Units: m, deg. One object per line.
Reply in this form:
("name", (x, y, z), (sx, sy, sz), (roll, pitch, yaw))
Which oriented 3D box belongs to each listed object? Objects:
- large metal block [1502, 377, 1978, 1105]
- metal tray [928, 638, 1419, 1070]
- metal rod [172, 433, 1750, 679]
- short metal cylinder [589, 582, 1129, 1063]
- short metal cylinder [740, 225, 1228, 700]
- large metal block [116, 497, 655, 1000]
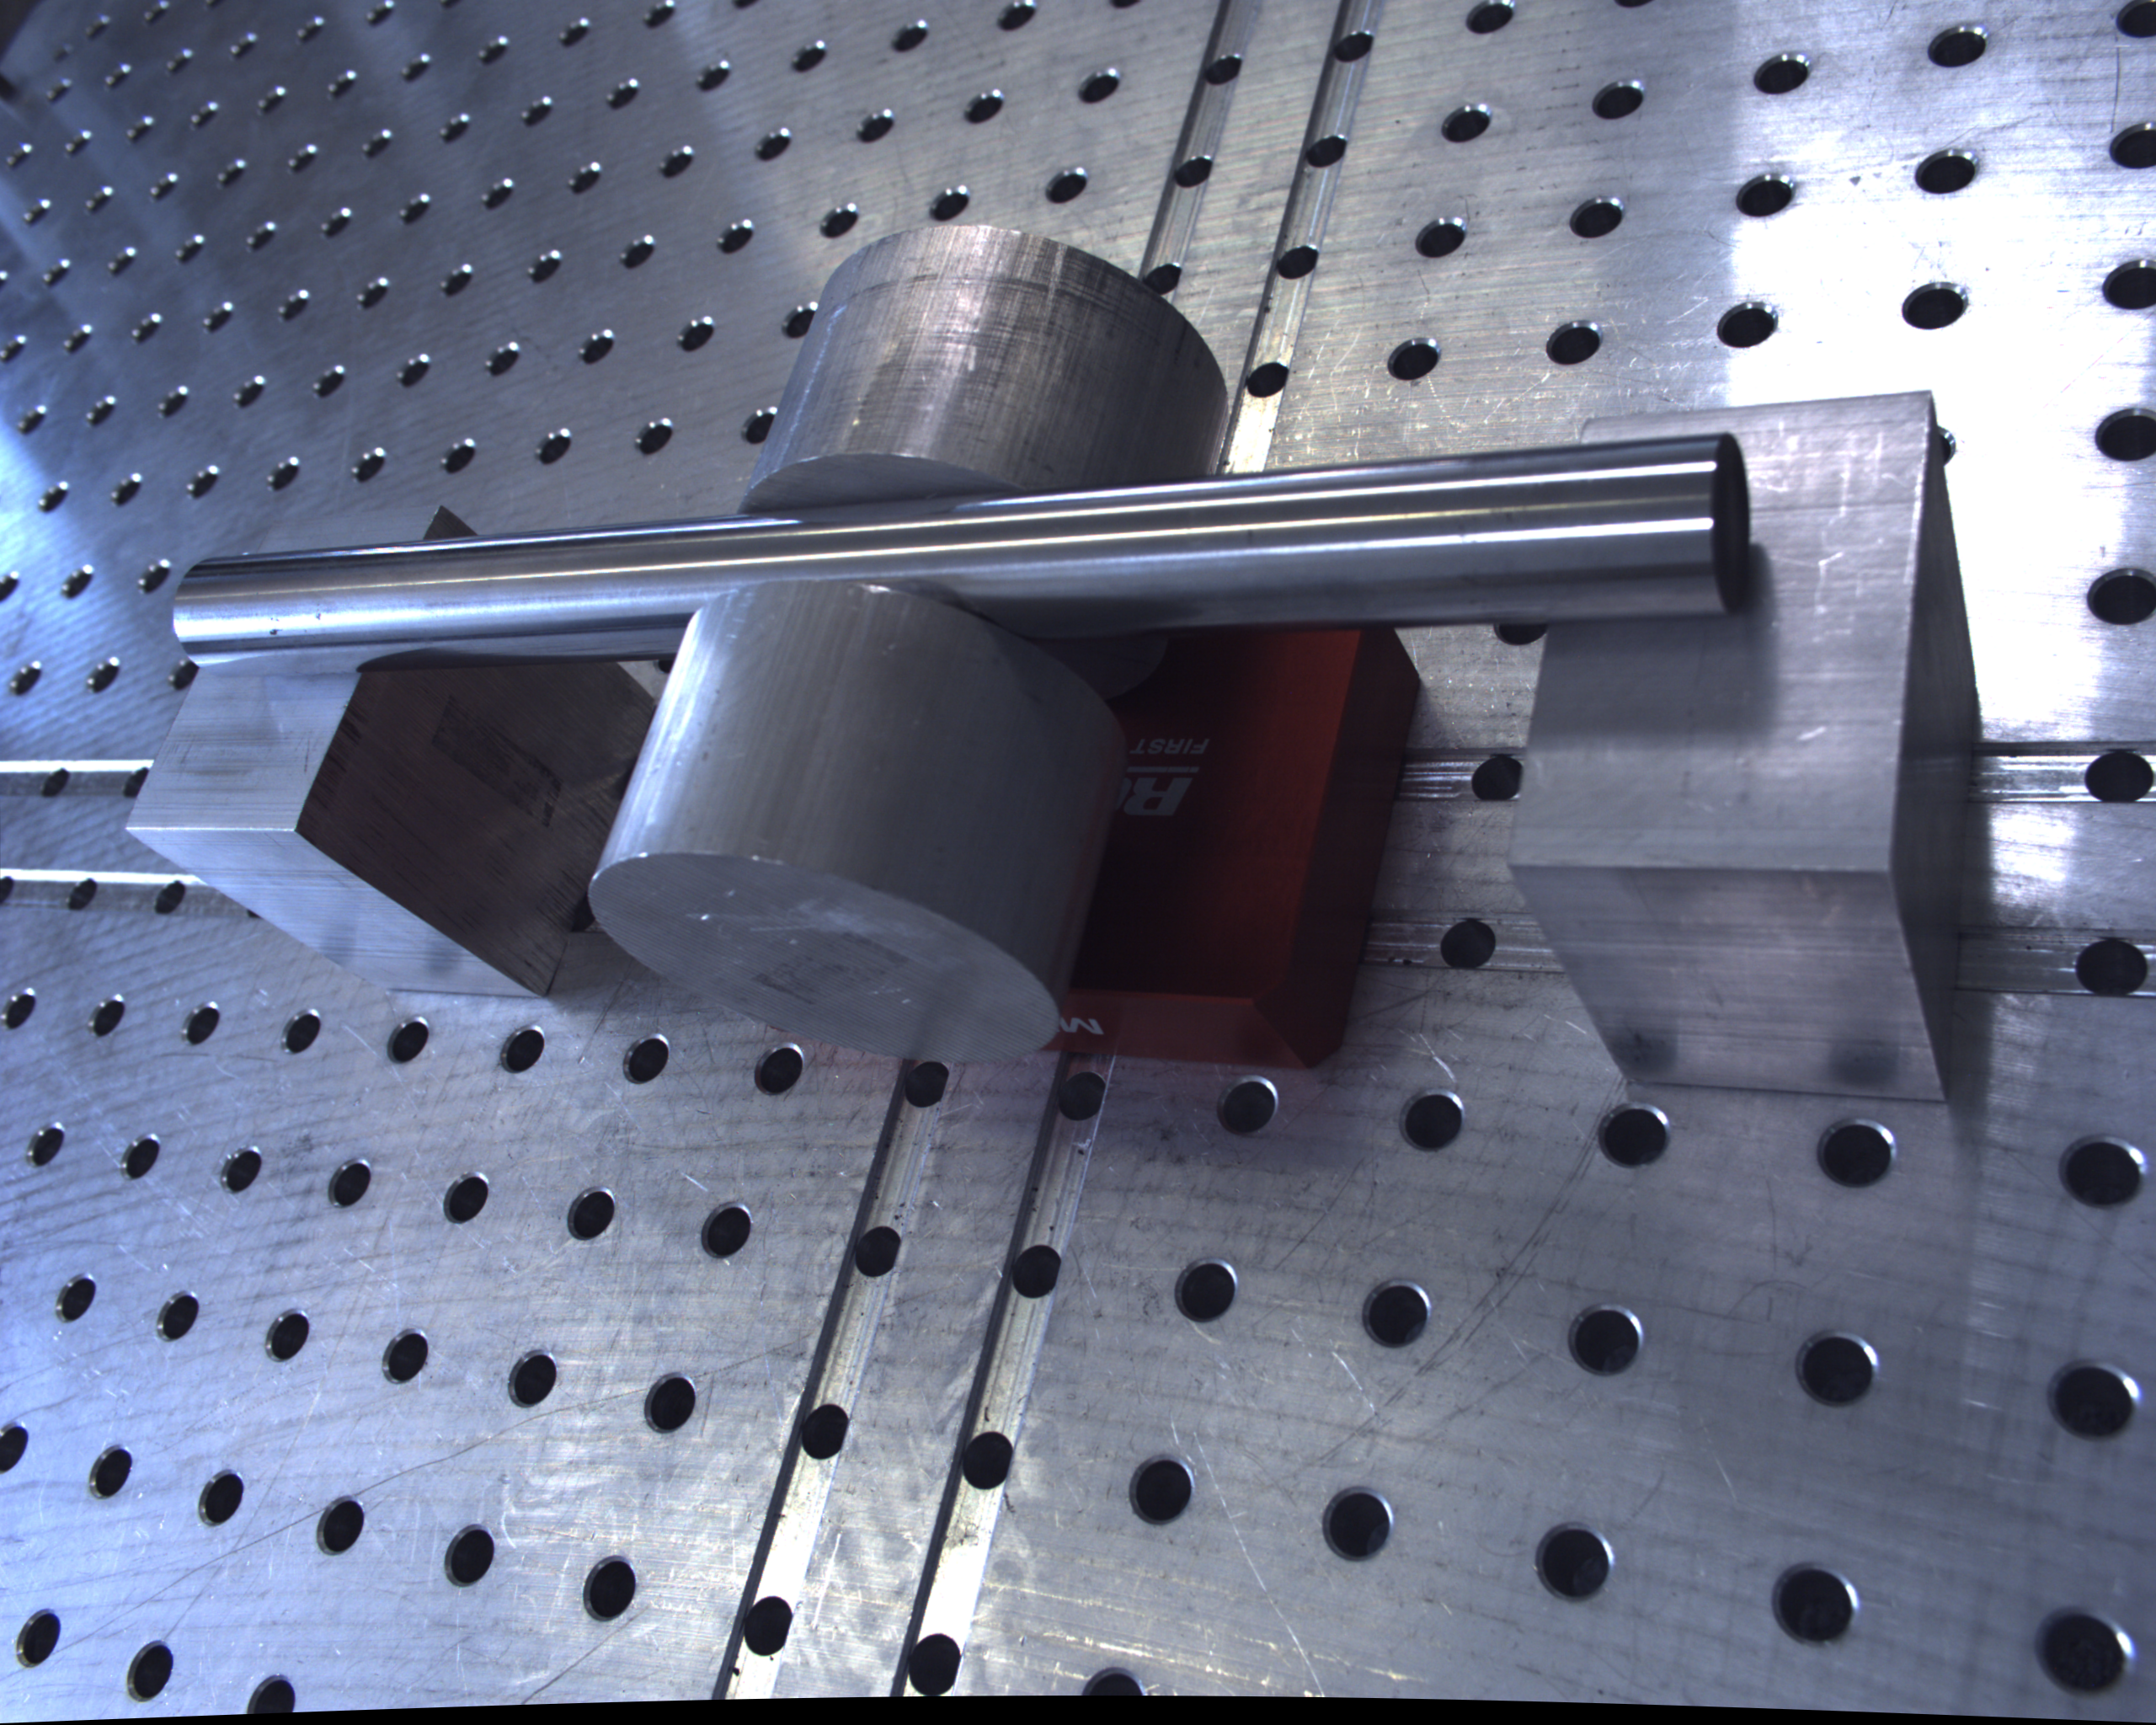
("large metal block", (0.107, -0.016, 0.325), (0.050, 0.080, 0.080), (1, 62, 29))
("metal tray", (-0.006, -0.010, 0.414), (0.130, 0.030, 0.090), (2, 62, 29))
("metal rod", (-0.043, -0.048, 0.357), (0.300, 0.025, 0.025), (1, 62, 28))
("short metal cylinder", (-0.036, -0.004, 0.356), (0.080, 0.080, 0.050), (1, 62, 28))
("short metal cylinder", (-0.017, -0.071, 0.387), (0.080, 0.080, 0.050), (1, 62, 28))
("large metal block", (-0.149, -0.023, 0.464), (0.050, 0.080, 0.080), (1, 62, 29))
